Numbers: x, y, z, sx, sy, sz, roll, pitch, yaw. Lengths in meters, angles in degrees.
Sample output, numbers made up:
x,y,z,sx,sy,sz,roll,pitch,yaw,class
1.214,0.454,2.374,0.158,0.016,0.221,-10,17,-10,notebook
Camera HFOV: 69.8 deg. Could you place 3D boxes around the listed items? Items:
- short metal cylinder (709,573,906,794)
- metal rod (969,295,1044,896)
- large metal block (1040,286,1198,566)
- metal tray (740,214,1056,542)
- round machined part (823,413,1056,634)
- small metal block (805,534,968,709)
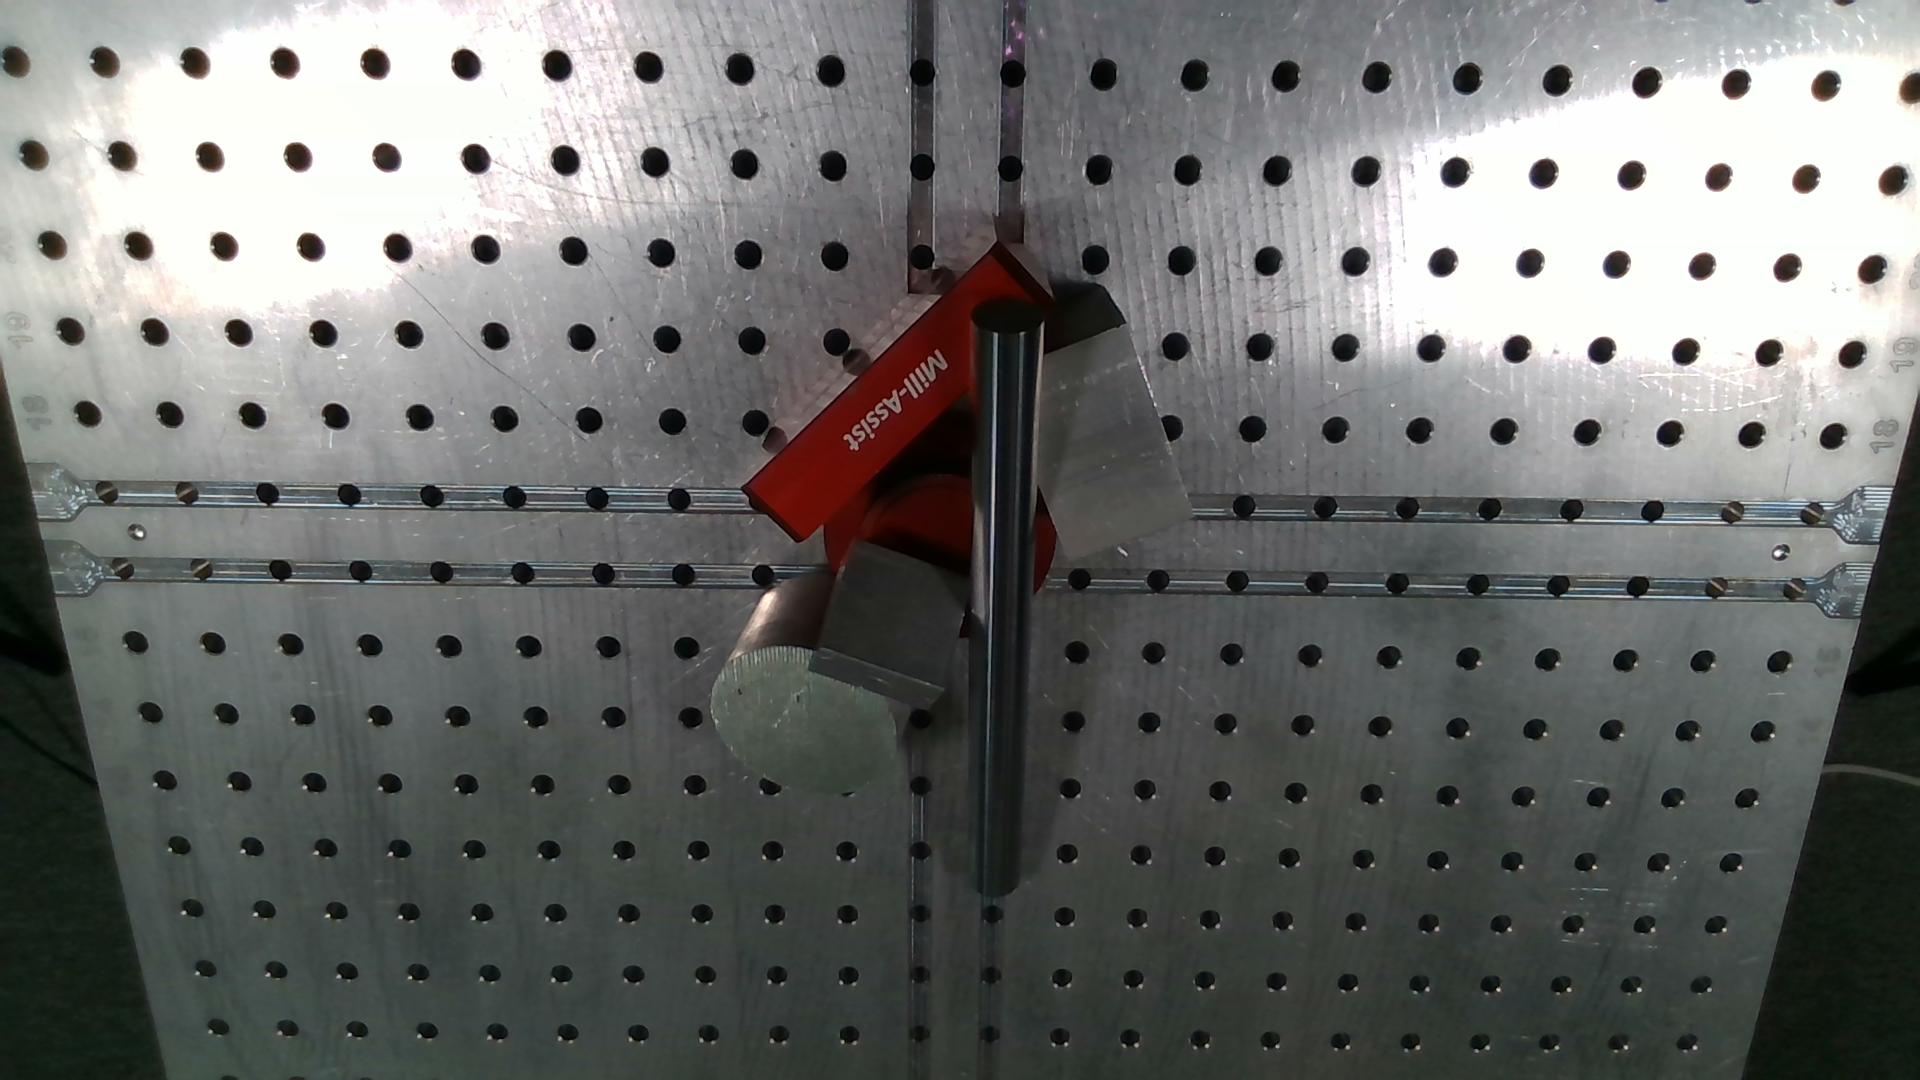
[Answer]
x,y,z,sx,sy,sz,roll,pitch,yaw,class
-0.059,0.061,0.584,0.080,0.050,0.080,7,126,10,short metal cylinder
0.016,0.041,0.552,0.025,0.025,0.301,0,130,0,metal rod
0.050,-0.047,0.539,0.050,0.080,0.080,-20,109,7,large metal block
-0.023,-0.064,0.528,0.130,0.090,0.030,-42,105,14,metal tray
-0.009,-0.004,0.579,0.098,0.042,0.098,0,110,0,round machined part
-0.028,0.032,0.539,0.050,0.050,0.025,20,151,-9,small metal block
